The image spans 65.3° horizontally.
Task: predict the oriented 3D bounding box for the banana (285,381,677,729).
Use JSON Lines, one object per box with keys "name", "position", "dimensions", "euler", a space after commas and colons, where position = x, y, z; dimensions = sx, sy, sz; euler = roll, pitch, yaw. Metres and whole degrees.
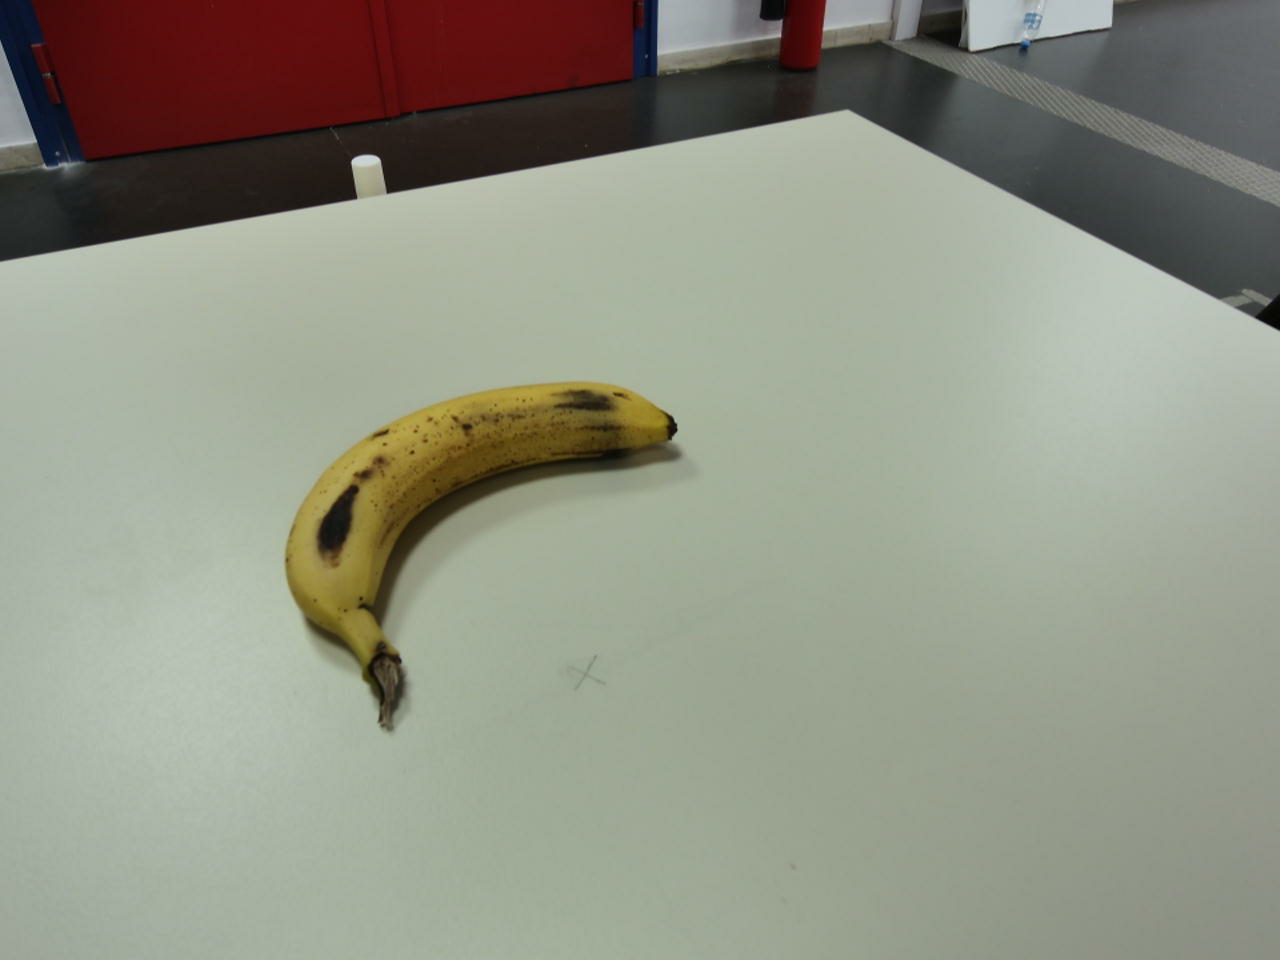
{"name": "banana", "position": [-0.073, 0.003, 0.421], "dimensions": [0.097, 0.038, 0.186], "euler": [23, 43, 27]}
